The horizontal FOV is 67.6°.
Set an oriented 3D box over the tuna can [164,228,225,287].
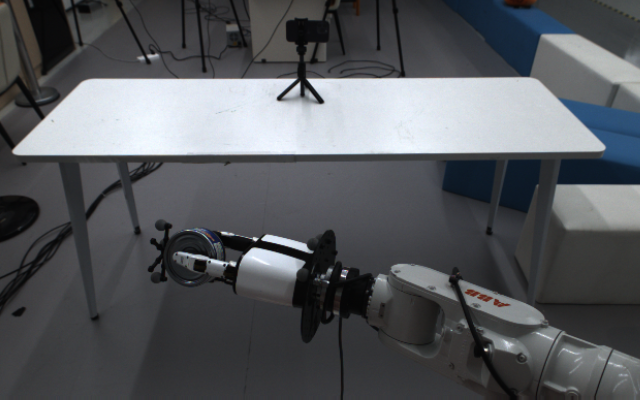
[{"bbox_3d":[-0.182,0.087,0.709,0.085,0.085,0.034,10,4,11],"label":"tuna can"}]
